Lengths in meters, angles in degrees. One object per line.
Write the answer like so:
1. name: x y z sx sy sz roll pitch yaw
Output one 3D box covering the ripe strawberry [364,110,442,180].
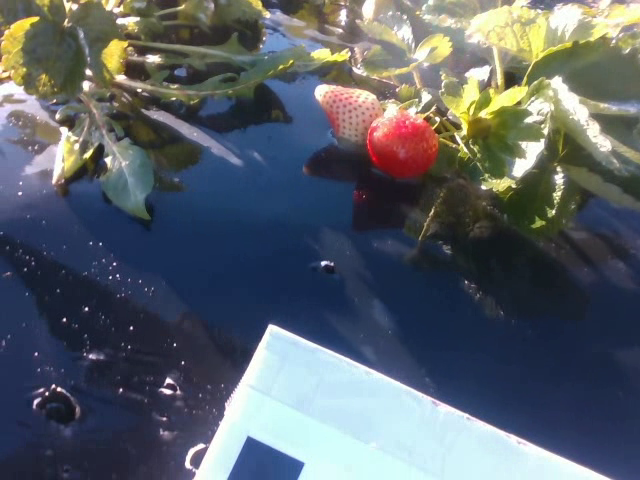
1. ripe strawberry: 0.038 -0.051 0.313 0.040 0.038 0.055 -2 -15 27
